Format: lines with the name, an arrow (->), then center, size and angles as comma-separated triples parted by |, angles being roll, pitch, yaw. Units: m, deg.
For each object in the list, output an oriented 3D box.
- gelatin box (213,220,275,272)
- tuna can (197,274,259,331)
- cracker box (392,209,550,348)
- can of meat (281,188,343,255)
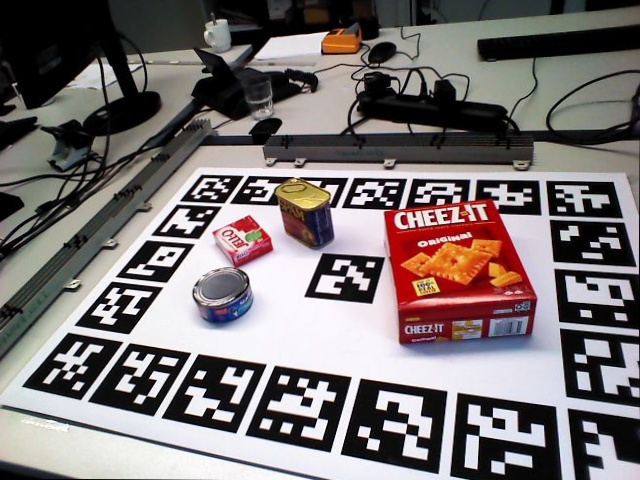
gelatin box -> -0.128, 0.008, 0.876 | 0.073, 0.030, 0.089 | -25, 40, -23
tuna can -> -0.134, 0.091, 0.756 | 0.086, 0.034, 0.085 | -8, 39, 6
cracker box -> 0.194, 0.044, 0.717 | 0.165, 0.072, 0.212 | -7, 34, 3
can of meat -> -0.012, -0.031, 0.866 | 0.057, 0.084, 0.102 | -35, 41, -31
